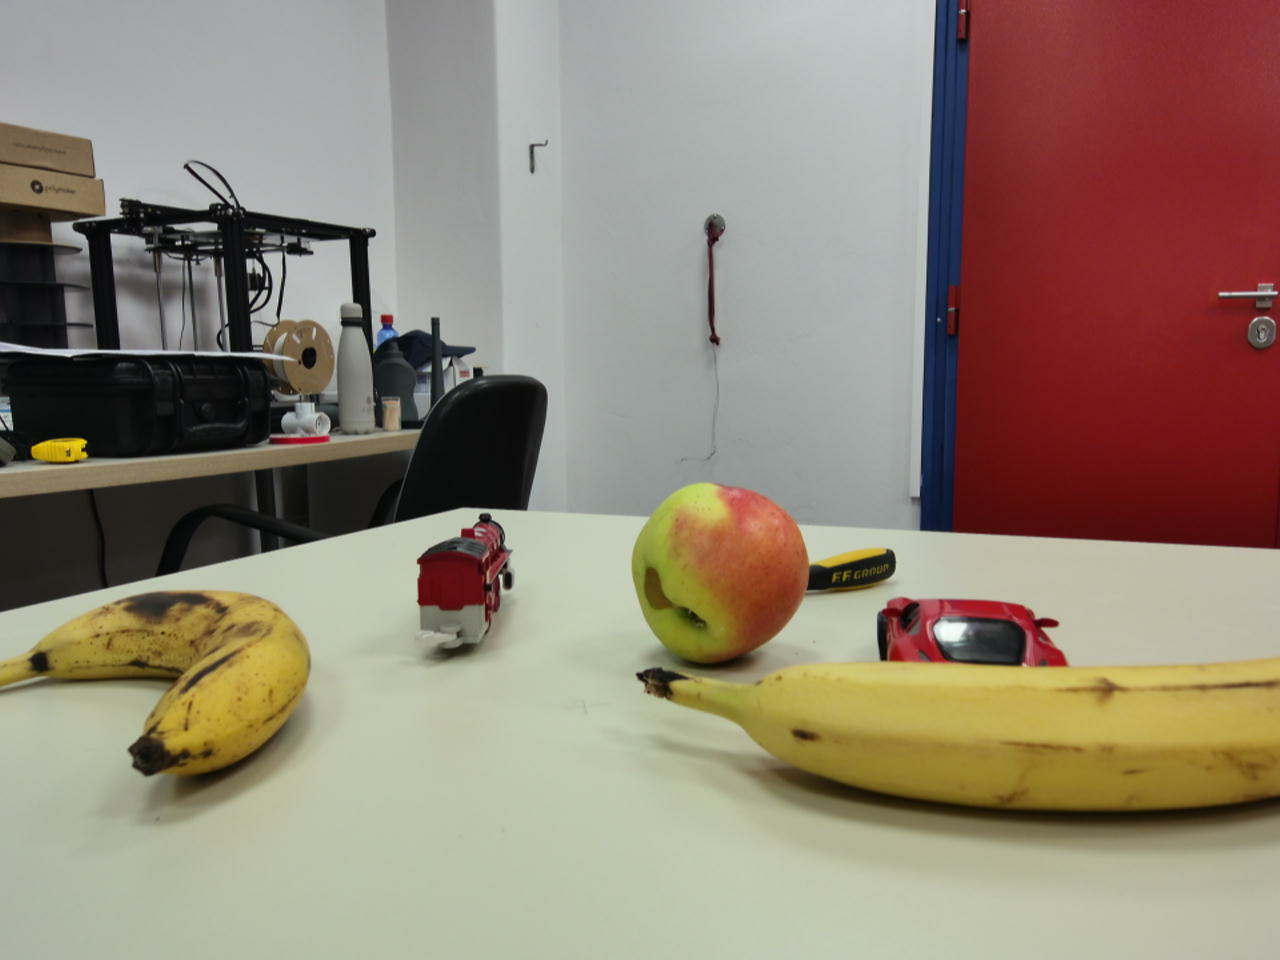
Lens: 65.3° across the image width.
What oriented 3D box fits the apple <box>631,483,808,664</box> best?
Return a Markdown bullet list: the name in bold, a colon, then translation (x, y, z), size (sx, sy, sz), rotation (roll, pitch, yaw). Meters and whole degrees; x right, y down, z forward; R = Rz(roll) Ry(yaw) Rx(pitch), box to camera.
- **apple**: translation (0.034, 0.039, 0.428), size (0.075, 0.074, 0.075), rotation (0, 3, 5)
